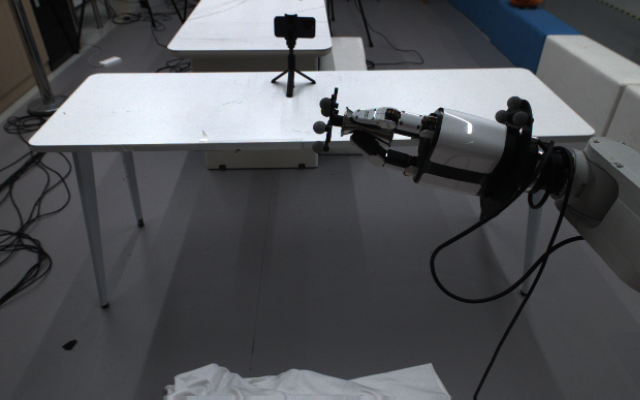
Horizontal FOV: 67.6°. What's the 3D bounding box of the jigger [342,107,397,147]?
[{"bbox_3d":[0.071,-0.103,0.649,0.071,0.043,0.043,11,35,3],"label":"jigger"}]
